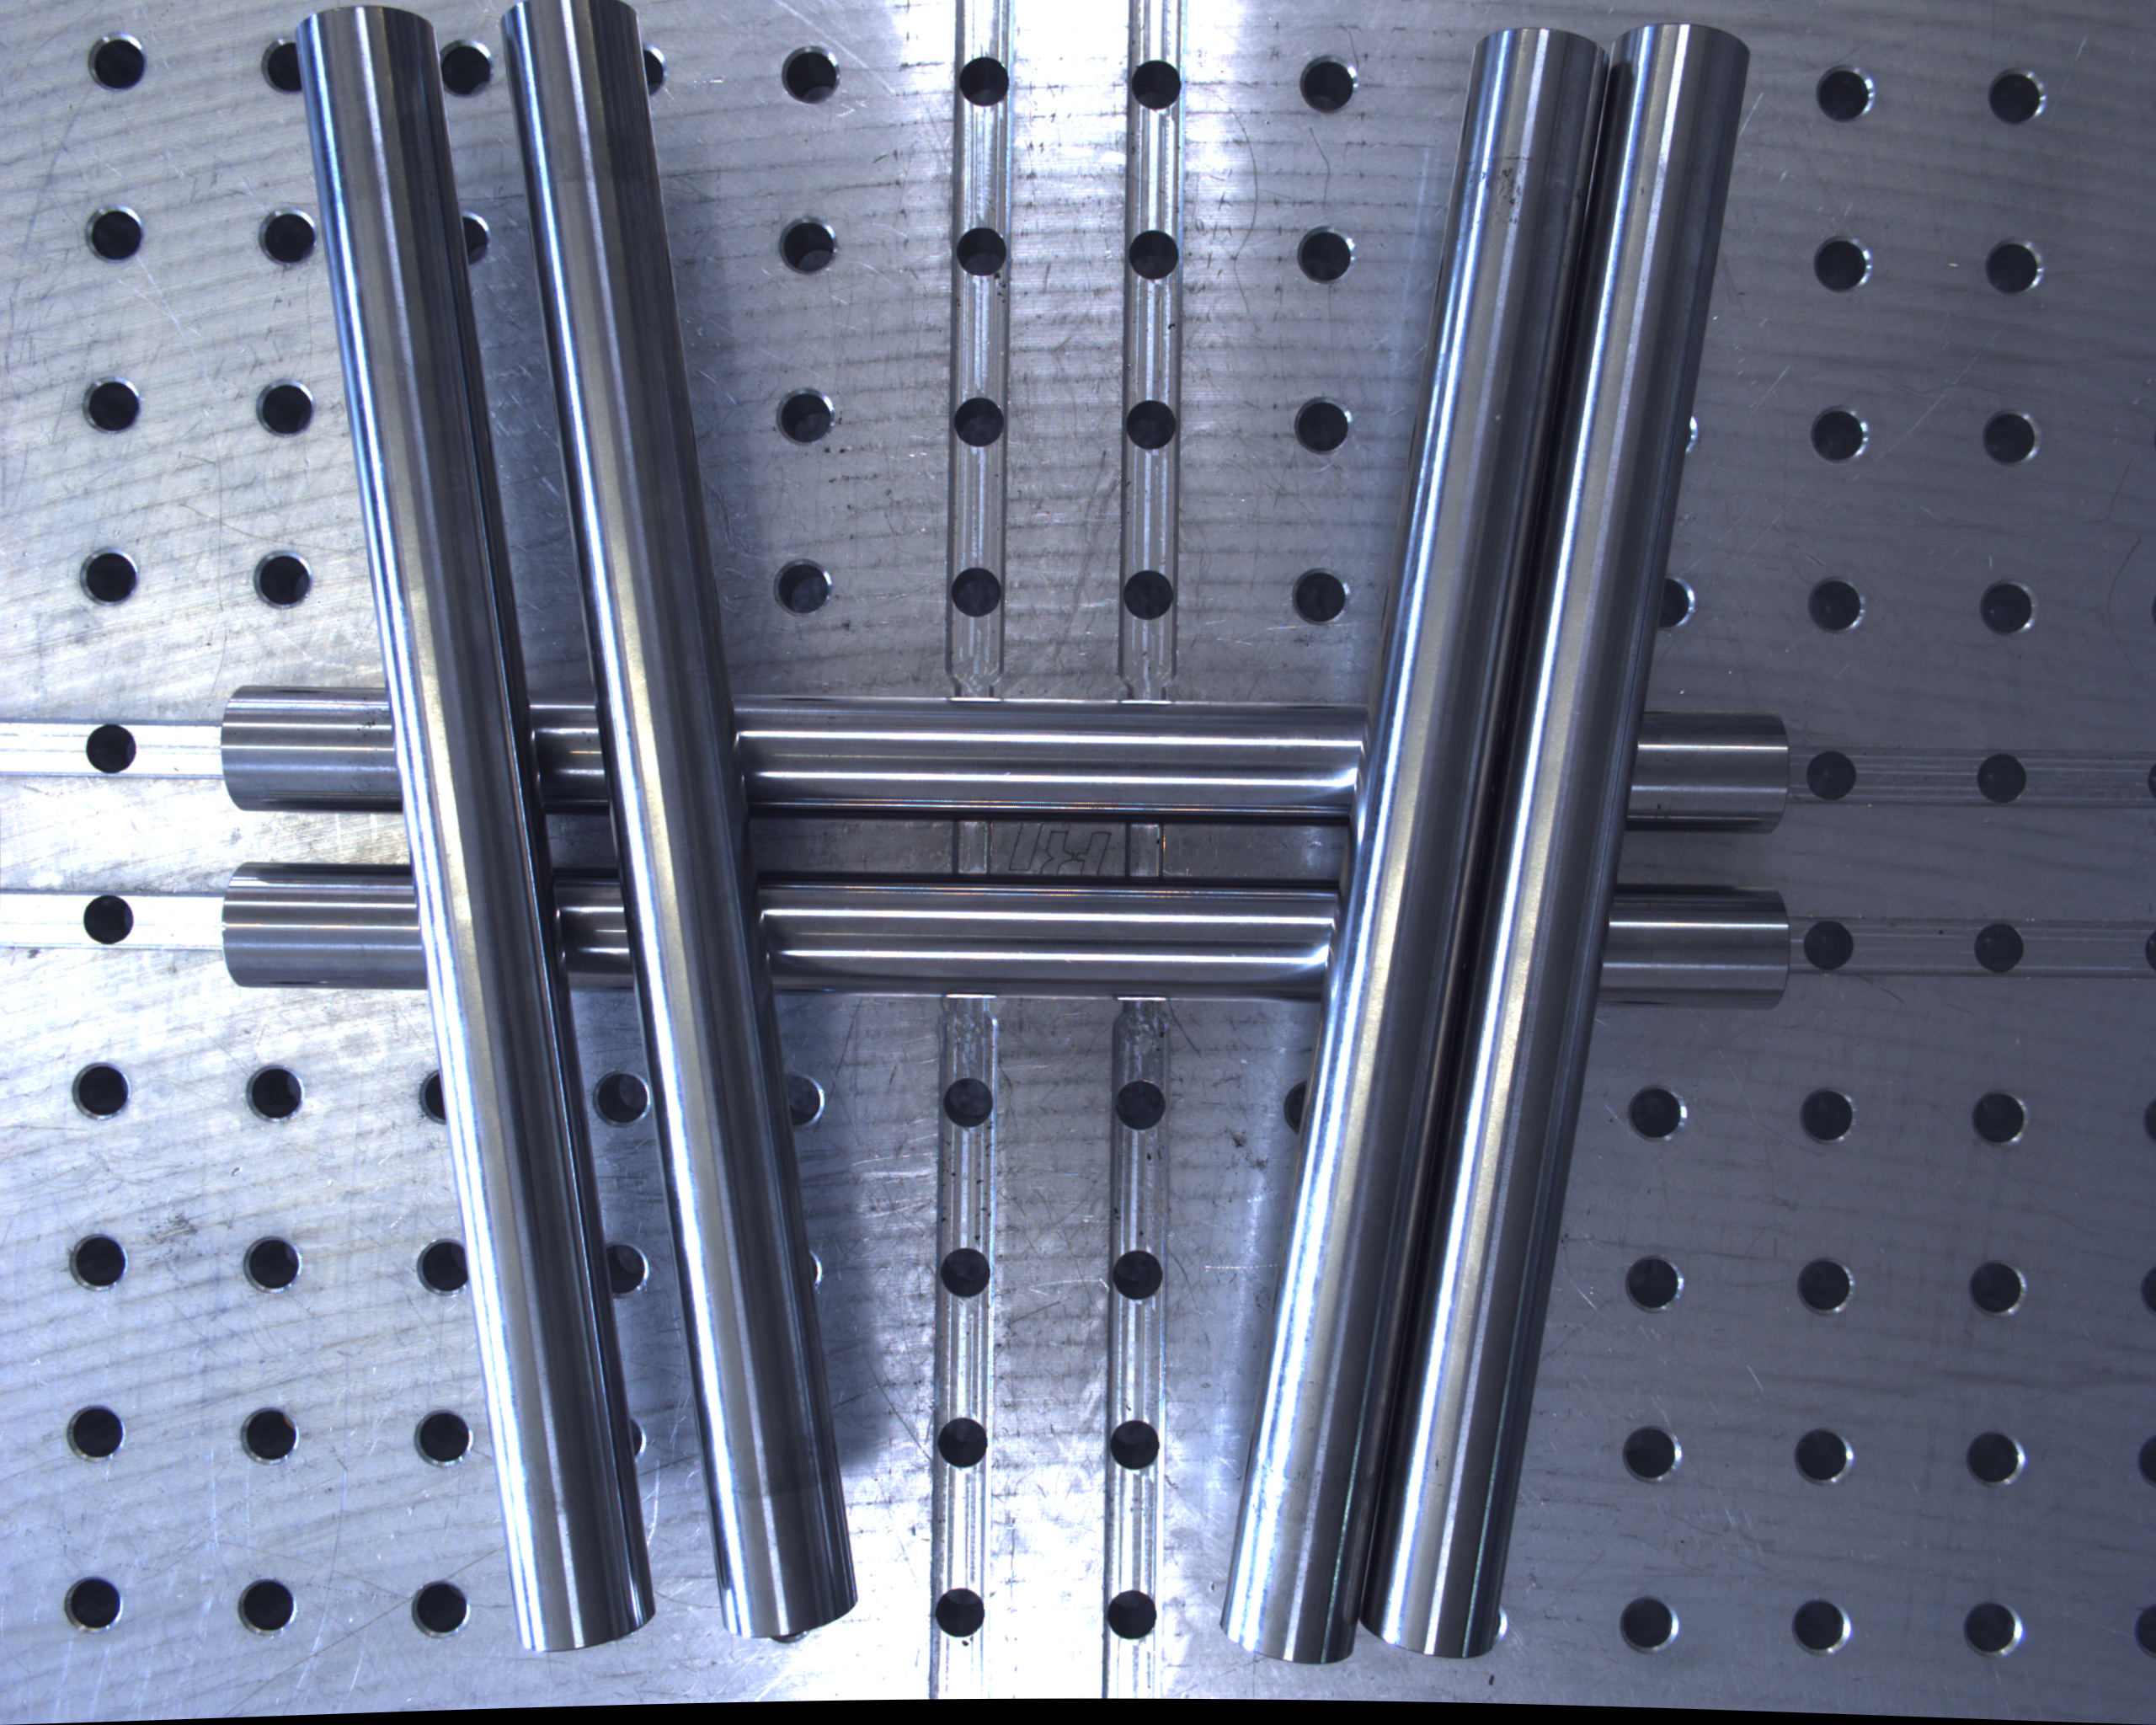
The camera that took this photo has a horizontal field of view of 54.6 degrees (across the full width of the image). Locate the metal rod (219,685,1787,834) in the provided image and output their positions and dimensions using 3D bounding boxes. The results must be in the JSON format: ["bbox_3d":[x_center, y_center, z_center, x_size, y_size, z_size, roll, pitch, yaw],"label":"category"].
[{"bbox_3d":[-0.014,-0.020,0.414,0.302,0.025,0.025,1,90,0],"label":"metal rod"}]

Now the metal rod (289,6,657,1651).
[{"bbox_3d":[-0.112,-0.006,0.388,0.025,0.025,0.298,-8,90,0],"label":"metal rod"}]

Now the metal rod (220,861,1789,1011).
[{"bbox_3d":[-0.014,0.015,0.414,0.302,0.025,0.025,1,90,0],"label":"metal rod"}]

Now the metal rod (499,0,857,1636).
[{"bbox_3d":[-0.074,-0.009,0.389,0.025,0.025,0.298,-8,90,0],"label":"metal rod"}]

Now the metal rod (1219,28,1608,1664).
[{"bbox_3d":[0.062,-0.003,0.389,0.025,0.025,0.298,9,90,0],"label":"metal rod"}]

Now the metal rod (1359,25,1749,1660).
[{"bbox_3d":[0.089,-0.004,0.390,0.025,0.025,0.298,9,90,0],"label":"metal rod"}]
